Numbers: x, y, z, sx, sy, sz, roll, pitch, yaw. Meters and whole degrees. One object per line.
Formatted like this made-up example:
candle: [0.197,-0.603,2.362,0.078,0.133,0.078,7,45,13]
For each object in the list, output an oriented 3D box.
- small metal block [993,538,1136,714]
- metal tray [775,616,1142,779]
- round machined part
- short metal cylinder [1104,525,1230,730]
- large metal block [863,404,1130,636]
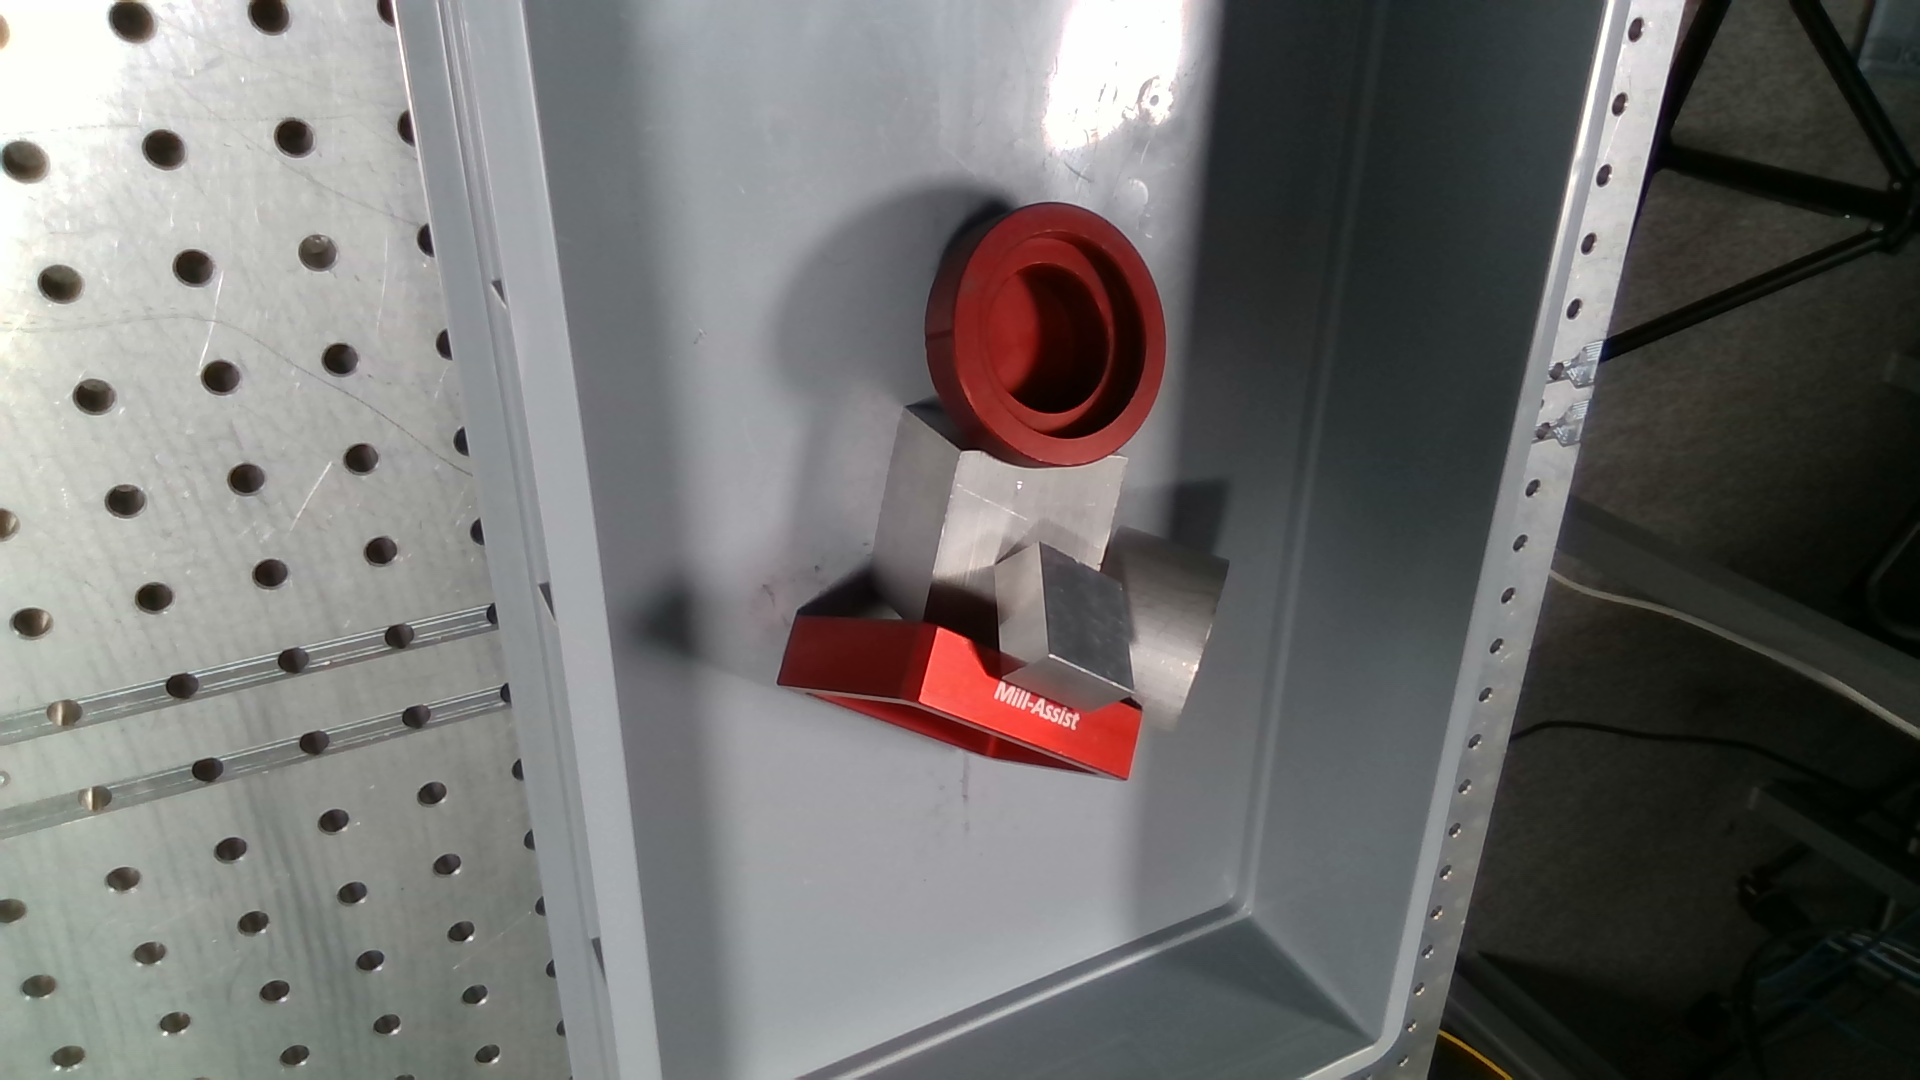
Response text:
small metal block: [0.041,0.034,0.540,0.025,0.050,0.050,-30,139,35]
metal tray: [0.001,0.066,0.572,0.130,0.090,0.030,25,72,-39]
round machined part: [0.028,-0.076,0.529,0.098,0.042,0.098,-1,92,-31]
short metal cylinder: [0.083,0.039,0.607,0.050,0.080,0.080,18,110,9]
large metal block: [0.014,-0.008,0.568,0.080,0.050,0.080,0,115,-32]
